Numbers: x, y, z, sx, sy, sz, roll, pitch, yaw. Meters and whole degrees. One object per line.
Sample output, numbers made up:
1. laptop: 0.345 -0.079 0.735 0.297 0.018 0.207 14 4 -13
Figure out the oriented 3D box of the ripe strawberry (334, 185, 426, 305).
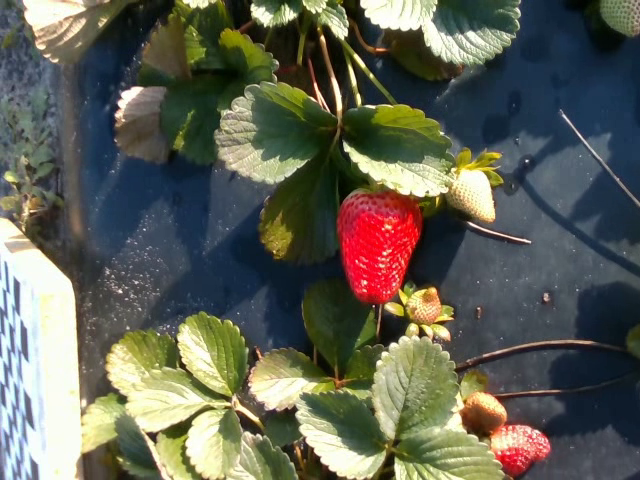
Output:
1. ripe strawberry: 0.031 0.005 0.352 0.055 0.072 0.056 6 -16 -30
